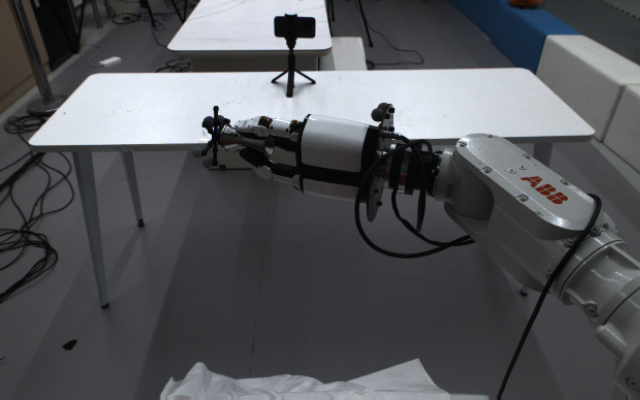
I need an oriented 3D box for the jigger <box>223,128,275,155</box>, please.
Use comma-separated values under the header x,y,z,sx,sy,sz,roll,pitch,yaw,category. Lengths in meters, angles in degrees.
x,y,z,sx,sy,sz,roll,pitch,yaw,category
-0.098,-0.090,0.700,0.071,0.043,0.043,7,35,12,jigger
